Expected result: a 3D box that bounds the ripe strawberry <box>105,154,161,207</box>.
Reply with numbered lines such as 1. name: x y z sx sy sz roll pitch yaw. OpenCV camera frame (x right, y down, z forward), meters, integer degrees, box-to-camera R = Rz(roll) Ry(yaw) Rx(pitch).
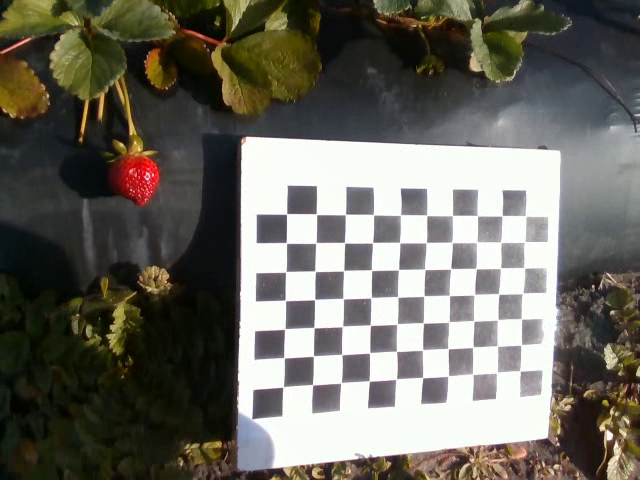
1. ripe strawberry: -0.131 -0.041 0.398 0.040 0.044 0.037 -20 -5 -10
